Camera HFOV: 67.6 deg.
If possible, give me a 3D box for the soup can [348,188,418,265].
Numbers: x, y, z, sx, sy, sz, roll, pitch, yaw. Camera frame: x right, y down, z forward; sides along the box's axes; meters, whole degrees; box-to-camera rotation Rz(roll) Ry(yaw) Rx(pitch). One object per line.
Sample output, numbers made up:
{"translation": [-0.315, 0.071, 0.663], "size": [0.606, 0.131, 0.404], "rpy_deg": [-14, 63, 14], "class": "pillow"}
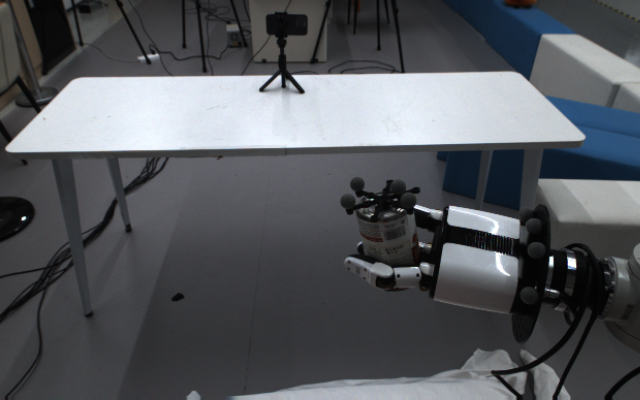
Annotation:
{"translation": [0.086, 0.048, 0.575], "size": [0.067, 0.101, 0.067], "rpy_deg": [-11, 27, 6], "class": "soup can"}
